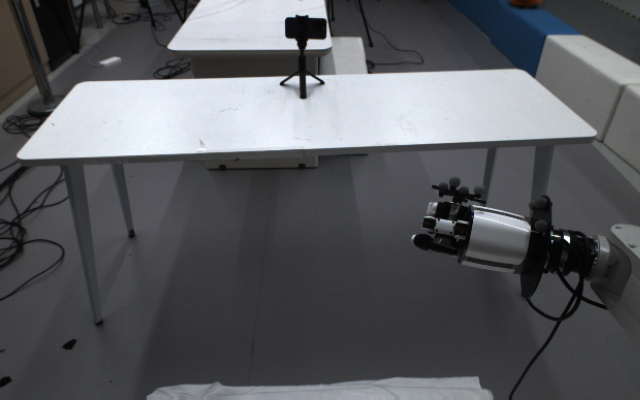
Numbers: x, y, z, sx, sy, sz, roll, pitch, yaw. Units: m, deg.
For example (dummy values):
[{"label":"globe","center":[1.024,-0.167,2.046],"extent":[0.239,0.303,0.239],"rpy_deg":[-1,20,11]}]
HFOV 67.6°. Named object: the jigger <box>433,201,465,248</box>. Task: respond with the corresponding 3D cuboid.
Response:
[{"label":"jigger","center":[0.206,0.038,0.764],"extent":[0.043,0.071,0.043],"rpy_deg":[19,-6,2]}]
